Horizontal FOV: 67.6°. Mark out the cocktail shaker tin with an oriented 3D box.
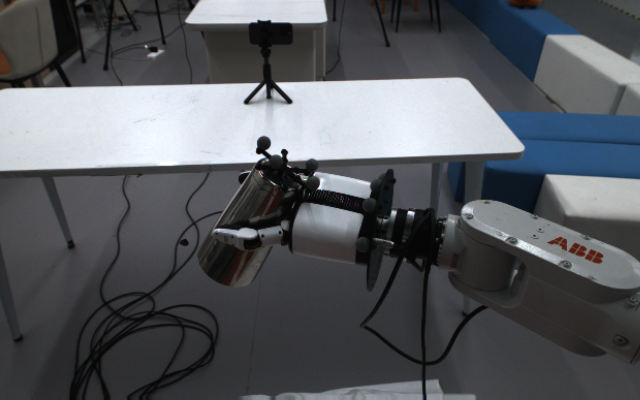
[{"bbox_3d":[-0.090,0.025,0.655,0.093,0.170,0.093,26,32,-17],"label":"cocktail shaker tin"}]
